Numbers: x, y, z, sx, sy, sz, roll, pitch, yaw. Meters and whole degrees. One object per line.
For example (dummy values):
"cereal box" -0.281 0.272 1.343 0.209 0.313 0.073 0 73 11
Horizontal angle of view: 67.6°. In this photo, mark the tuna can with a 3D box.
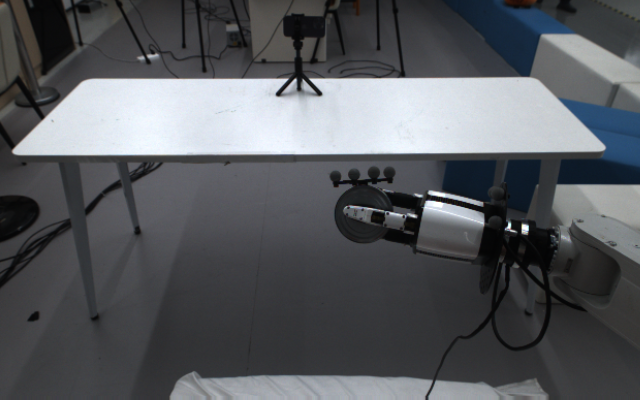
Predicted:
"tuna can" 0.067 0.020 0.714 0.085 0.085 0.034 10 3 11
